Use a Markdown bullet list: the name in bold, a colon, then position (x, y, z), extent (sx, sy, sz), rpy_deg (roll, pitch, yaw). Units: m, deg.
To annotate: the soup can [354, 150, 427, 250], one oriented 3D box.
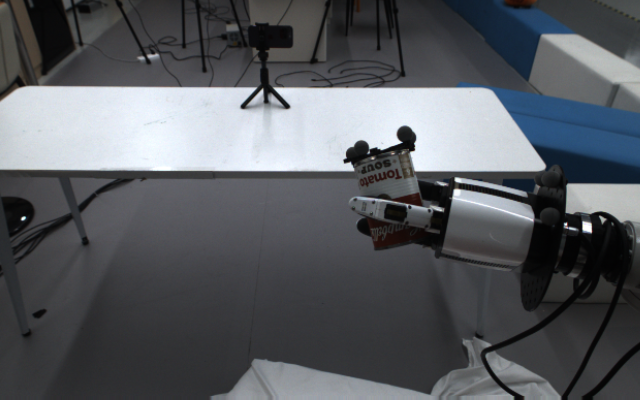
- **soup can**: position (0.084, 0.000, 0.554), extent (0.067, 0.101, 0.067), rpy_deg (-14, -2, -1)
